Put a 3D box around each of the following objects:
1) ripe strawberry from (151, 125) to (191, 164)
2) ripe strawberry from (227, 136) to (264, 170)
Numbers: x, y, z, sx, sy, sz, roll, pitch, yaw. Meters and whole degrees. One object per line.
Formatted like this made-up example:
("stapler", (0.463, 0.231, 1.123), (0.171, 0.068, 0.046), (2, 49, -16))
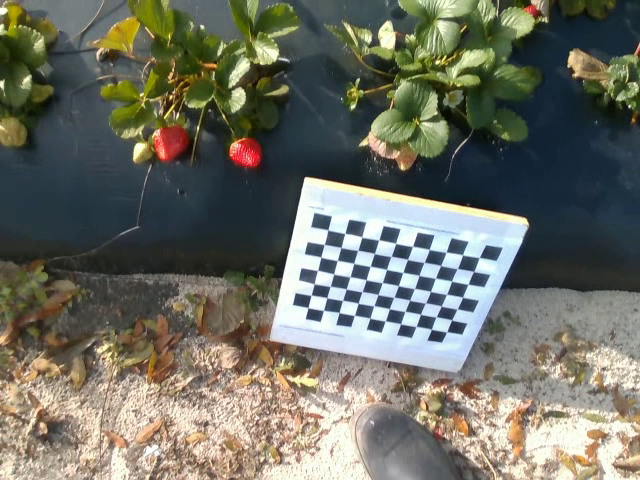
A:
("ripe strawberry", (-0.136, -0.084, 0.695), (0.035, 0.036, 0.041), (1, -29, 9))
("ripe strawberry", (-0.067, -0.075, 0.700), (0.034, 0.039, 0.037), (5, -40, -24))
